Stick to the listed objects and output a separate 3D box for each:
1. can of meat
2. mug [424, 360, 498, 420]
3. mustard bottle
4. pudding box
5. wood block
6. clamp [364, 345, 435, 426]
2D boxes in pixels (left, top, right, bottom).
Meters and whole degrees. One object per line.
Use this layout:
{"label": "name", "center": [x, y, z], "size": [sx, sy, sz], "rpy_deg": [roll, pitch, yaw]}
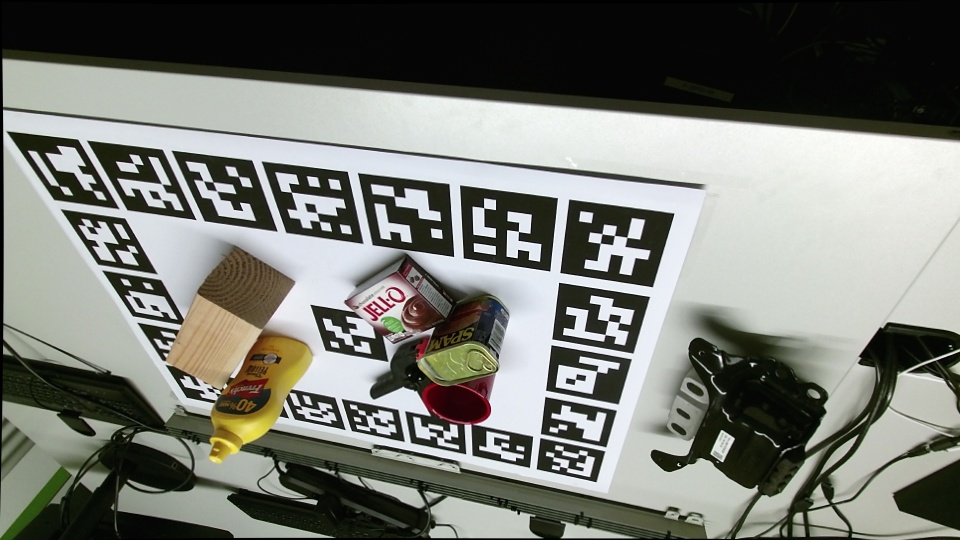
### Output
{"label": "can of meat", "center": [-0.022, 0.092, 0.655], "size": [0.102, 0.083, 0.058], "rpy_deg": [-18, 121, 29]}
{"label": "mug", "center": [-0.026, 0.154, 0.748], "size": [0.093, 0.081, 0.117], "rpy_deg": [25, 130, -5]}
{"label": "mustard bottle", "center": [-0.333, 0.194, 0.768], "size": [0.096, 0.191, 0.058], "rpy_deg": [4, 130, 13]}
{"label": "pudding box", "center": [-0.111, 0.044, 0.679], "size": [0.114, 0.038, 0.090], "rpy_deg": [-27, 117, 35]}
{"label": "wood block", "center": [-0.361, 0.075, 0.749], "size": [0.090, 0.090, 0.206], "rpy_deg": [35, 132, -16]}
{"label": "clamp", "center": [-0.105, 0.170, 0.792], "size": [0.122, 0.036, 0.165], "rpy_deg": [23, 130, -2]}
